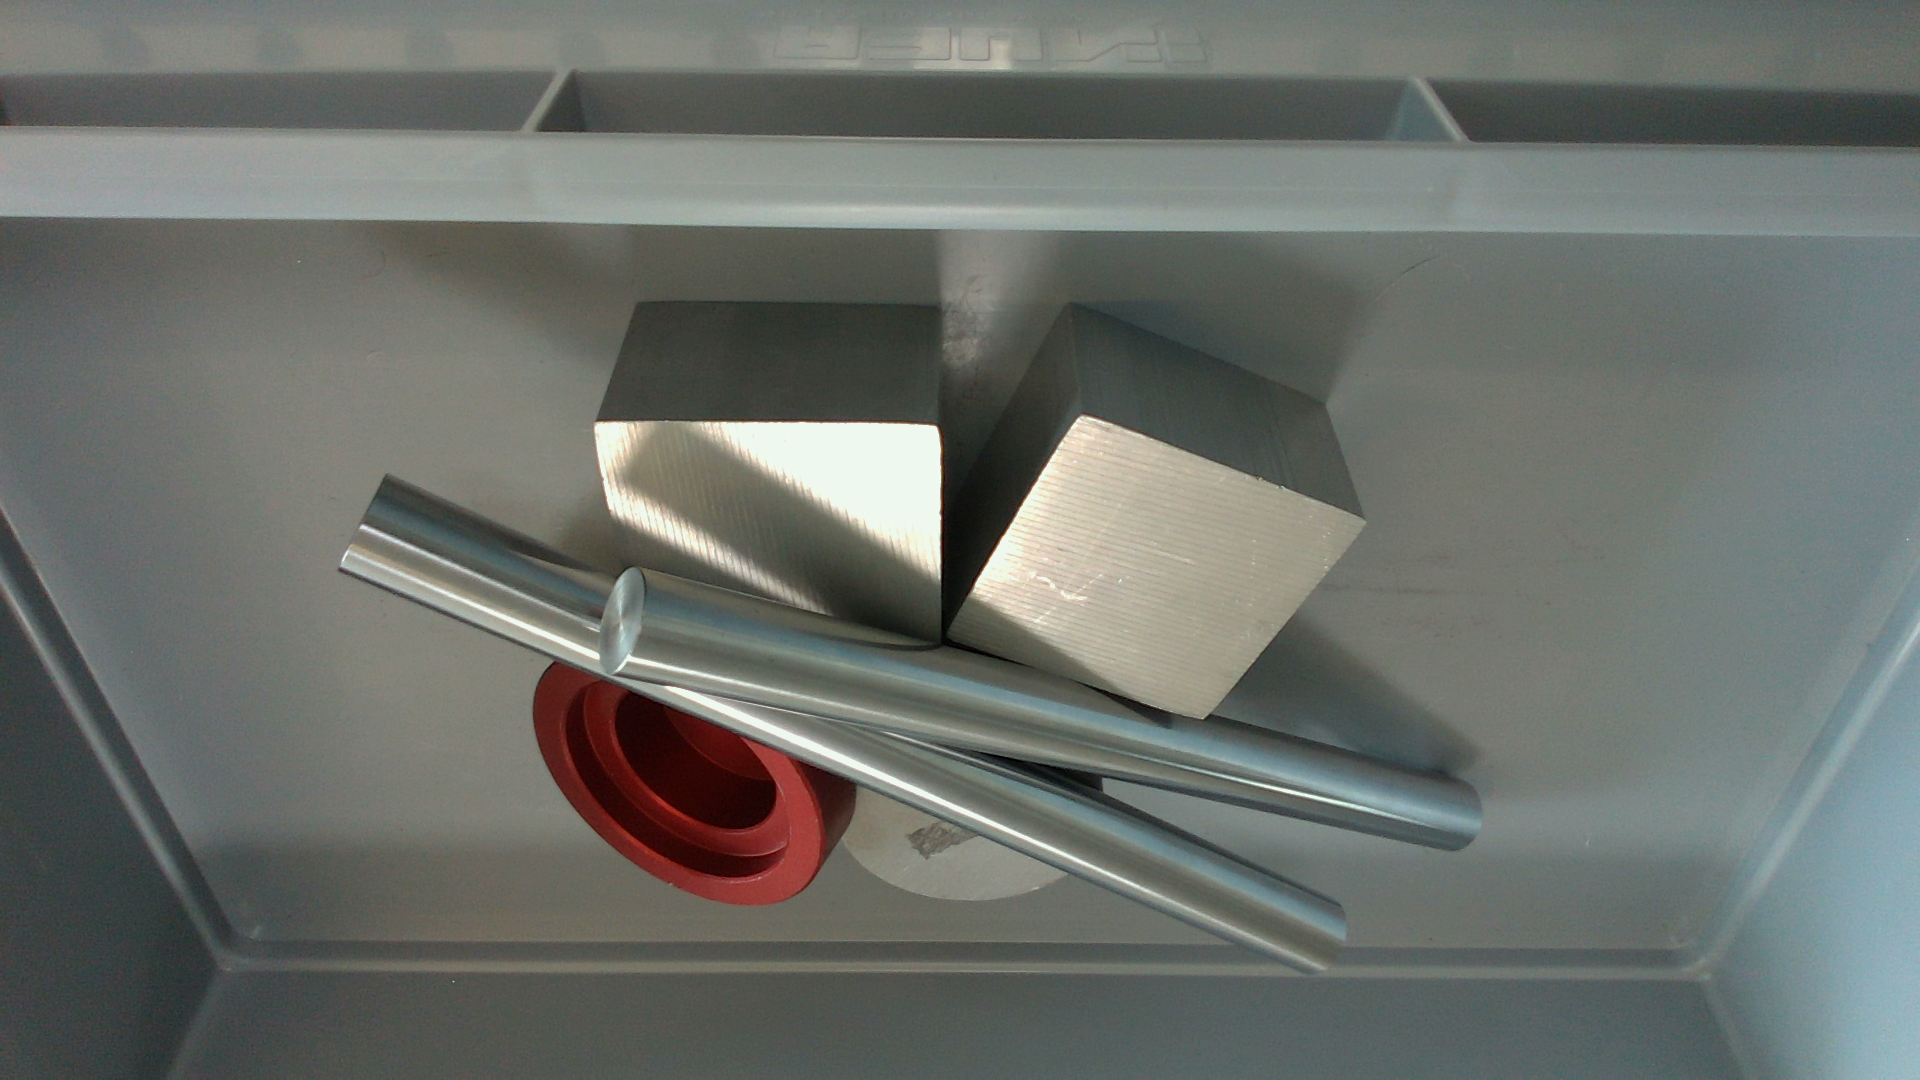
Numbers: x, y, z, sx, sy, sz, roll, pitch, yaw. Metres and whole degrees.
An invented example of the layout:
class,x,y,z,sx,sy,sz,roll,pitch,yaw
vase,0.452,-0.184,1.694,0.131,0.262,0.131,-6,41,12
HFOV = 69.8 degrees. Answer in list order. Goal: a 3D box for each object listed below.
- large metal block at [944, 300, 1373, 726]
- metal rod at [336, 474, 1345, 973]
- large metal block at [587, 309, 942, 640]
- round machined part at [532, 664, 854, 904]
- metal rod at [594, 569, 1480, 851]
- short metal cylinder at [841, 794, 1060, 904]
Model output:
class,x,y,z,sx,sy,sz,roll,pitch,yaw
large metal block,0.048,-0.005,0.367,0.080,0.050,0.080,19,128,-16
metal rod,-0.013,0.059,0.372,0.301,0.025,0.025,27,125,-22
large metal block,-0.045,-0.012,0.358,0.080,0.050,0.080,0,130,-1
round machined part,-0.075,0.059,0.413,0.098,0.042,0.098,14,129,19
metal rod,0.045,0.056,0.388,0.301,0.025,0.025,17,130,-32
short metal cylinder,0.003,0.069,0.429,0.080,0.050,0.080,0,130,0
